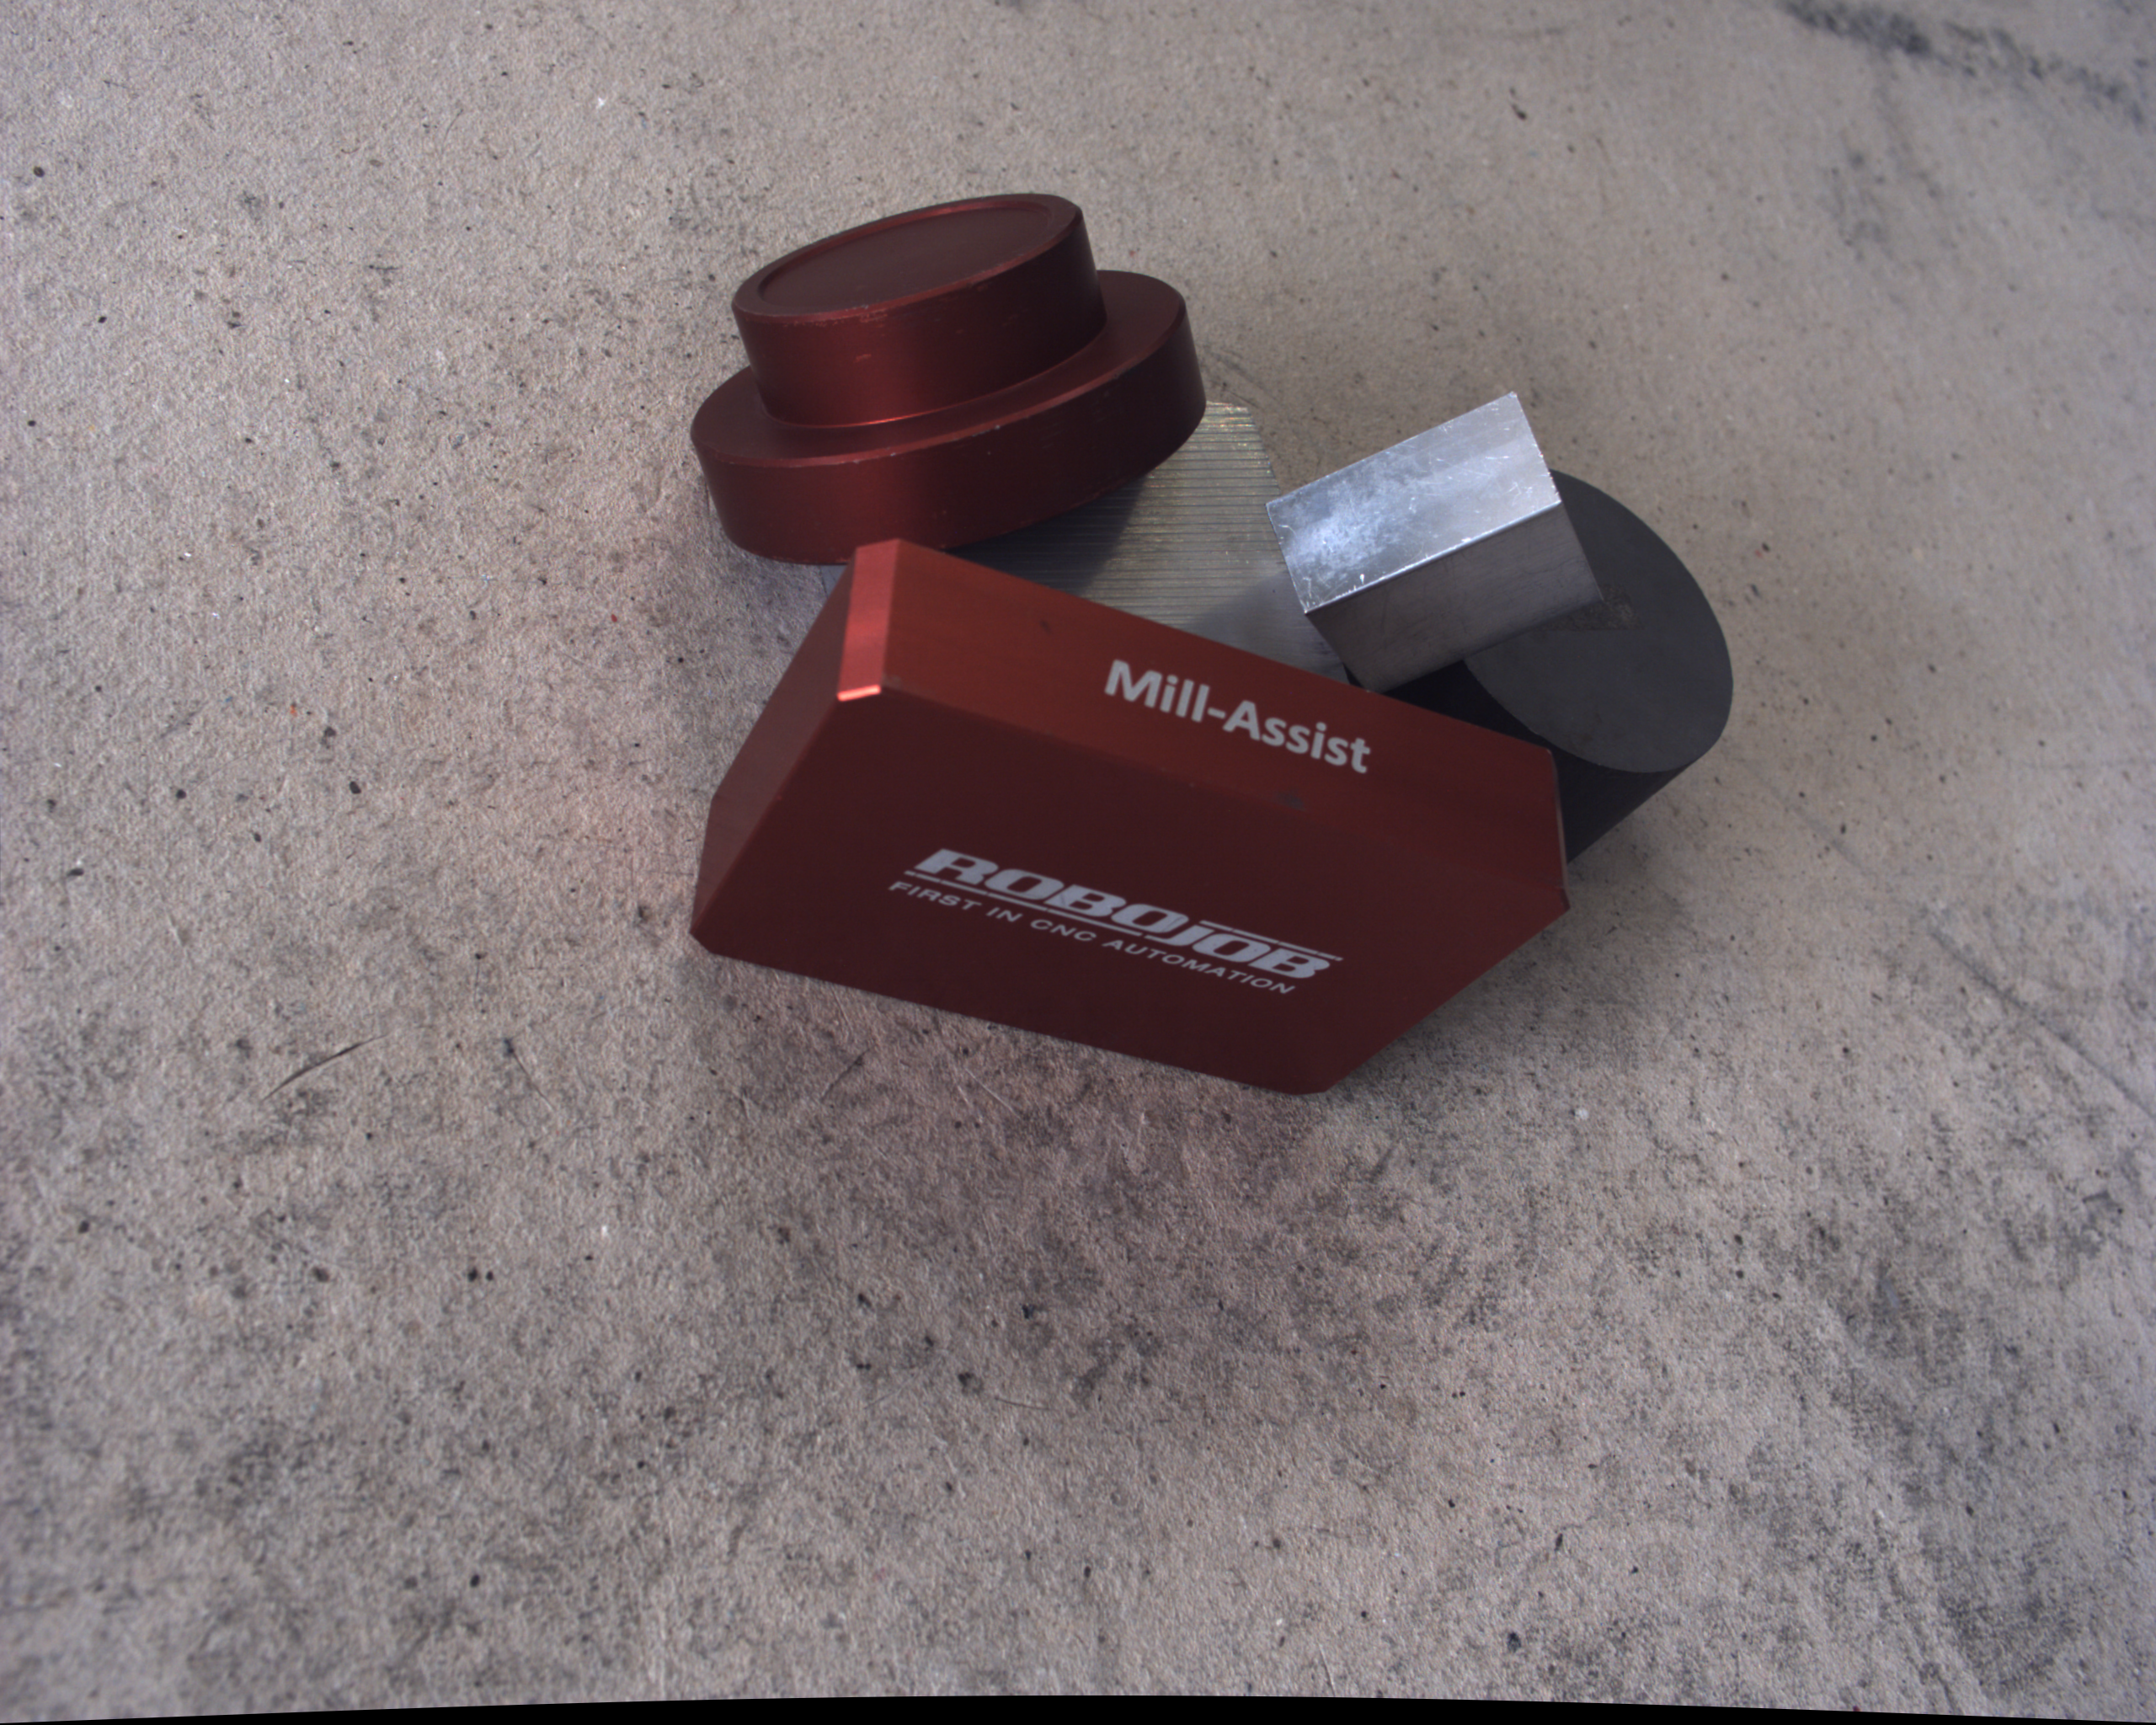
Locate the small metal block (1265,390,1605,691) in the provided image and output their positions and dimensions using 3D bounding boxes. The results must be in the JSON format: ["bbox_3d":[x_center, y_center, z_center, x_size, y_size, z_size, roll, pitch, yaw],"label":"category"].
[{"bbox_3d":[0.070,-0.060,0.405,0.050,0.050,0.025,33,37,-64],"label":"small metal block"}]

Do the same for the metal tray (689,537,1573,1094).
[{"bbox_3d":[0.008,-0.002,0.368,0.131,0.090,0.030,16,56,-20],"label":"metal tray"}]

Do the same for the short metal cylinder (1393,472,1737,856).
[{"bbox_3d":[0.099,-0.042,0.469,0.081,0.050,0.080,14,56,-21],"label":"short metal cylinder"}]

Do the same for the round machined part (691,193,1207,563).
[{"bbox_3d":[-0.027,-0.098,0.402,0.099,0.098,0.042,-42,131,-39],"label":"round machined part"}]

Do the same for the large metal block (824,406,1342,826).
[{"bbox_3d":[0.000,-0.047,0.419,0.081,0.050,0.080,-2,63,-29],"label":"large metal block"}]
